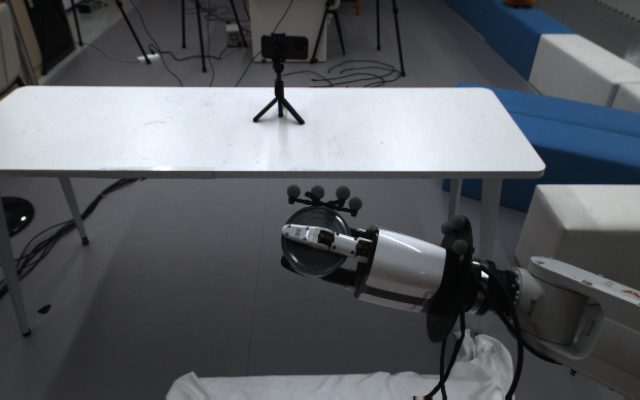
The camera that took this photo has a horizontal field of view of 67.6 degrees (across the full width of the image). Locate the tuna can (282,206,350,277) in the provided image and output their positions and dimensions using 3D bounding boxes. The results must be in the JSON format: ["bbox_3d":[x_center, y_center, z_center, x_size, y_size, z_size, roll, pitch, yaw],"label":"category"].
[{"bbox_3d":[-0.004,0.050,0.597,0.085,0.034,0.085,1,72,-3],"label":"tuna can"}]
